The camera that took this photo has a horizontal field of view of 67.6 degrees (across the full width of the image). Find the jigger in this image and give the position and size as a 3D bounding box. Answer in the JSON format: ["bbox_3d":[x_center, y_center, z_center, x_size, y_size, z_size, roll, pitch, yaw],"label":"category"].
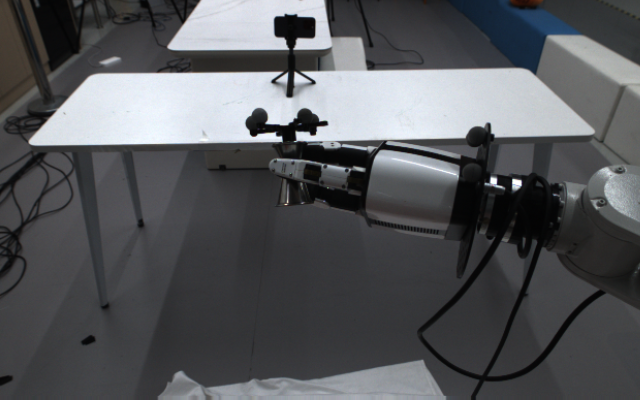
[{"bbox_3d":[-0.030,-0.028,0.533,0.043,0.071,0.043,-4,1,0],"label":"jigger"}]
